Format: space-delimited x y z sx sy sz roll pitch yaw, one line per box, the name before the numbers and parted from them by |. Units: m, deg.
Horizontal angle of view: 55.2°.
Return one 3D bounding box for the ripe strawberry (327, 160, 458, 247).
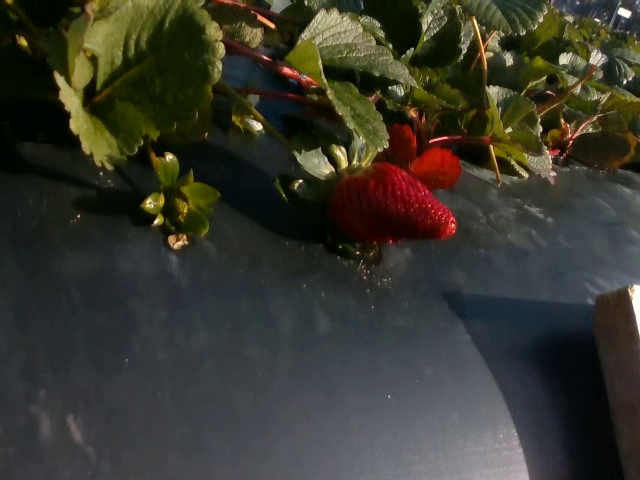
ripe strawberry | 0.030 -0.012 0.237 0.056 0.041 0.041 21 53 28
